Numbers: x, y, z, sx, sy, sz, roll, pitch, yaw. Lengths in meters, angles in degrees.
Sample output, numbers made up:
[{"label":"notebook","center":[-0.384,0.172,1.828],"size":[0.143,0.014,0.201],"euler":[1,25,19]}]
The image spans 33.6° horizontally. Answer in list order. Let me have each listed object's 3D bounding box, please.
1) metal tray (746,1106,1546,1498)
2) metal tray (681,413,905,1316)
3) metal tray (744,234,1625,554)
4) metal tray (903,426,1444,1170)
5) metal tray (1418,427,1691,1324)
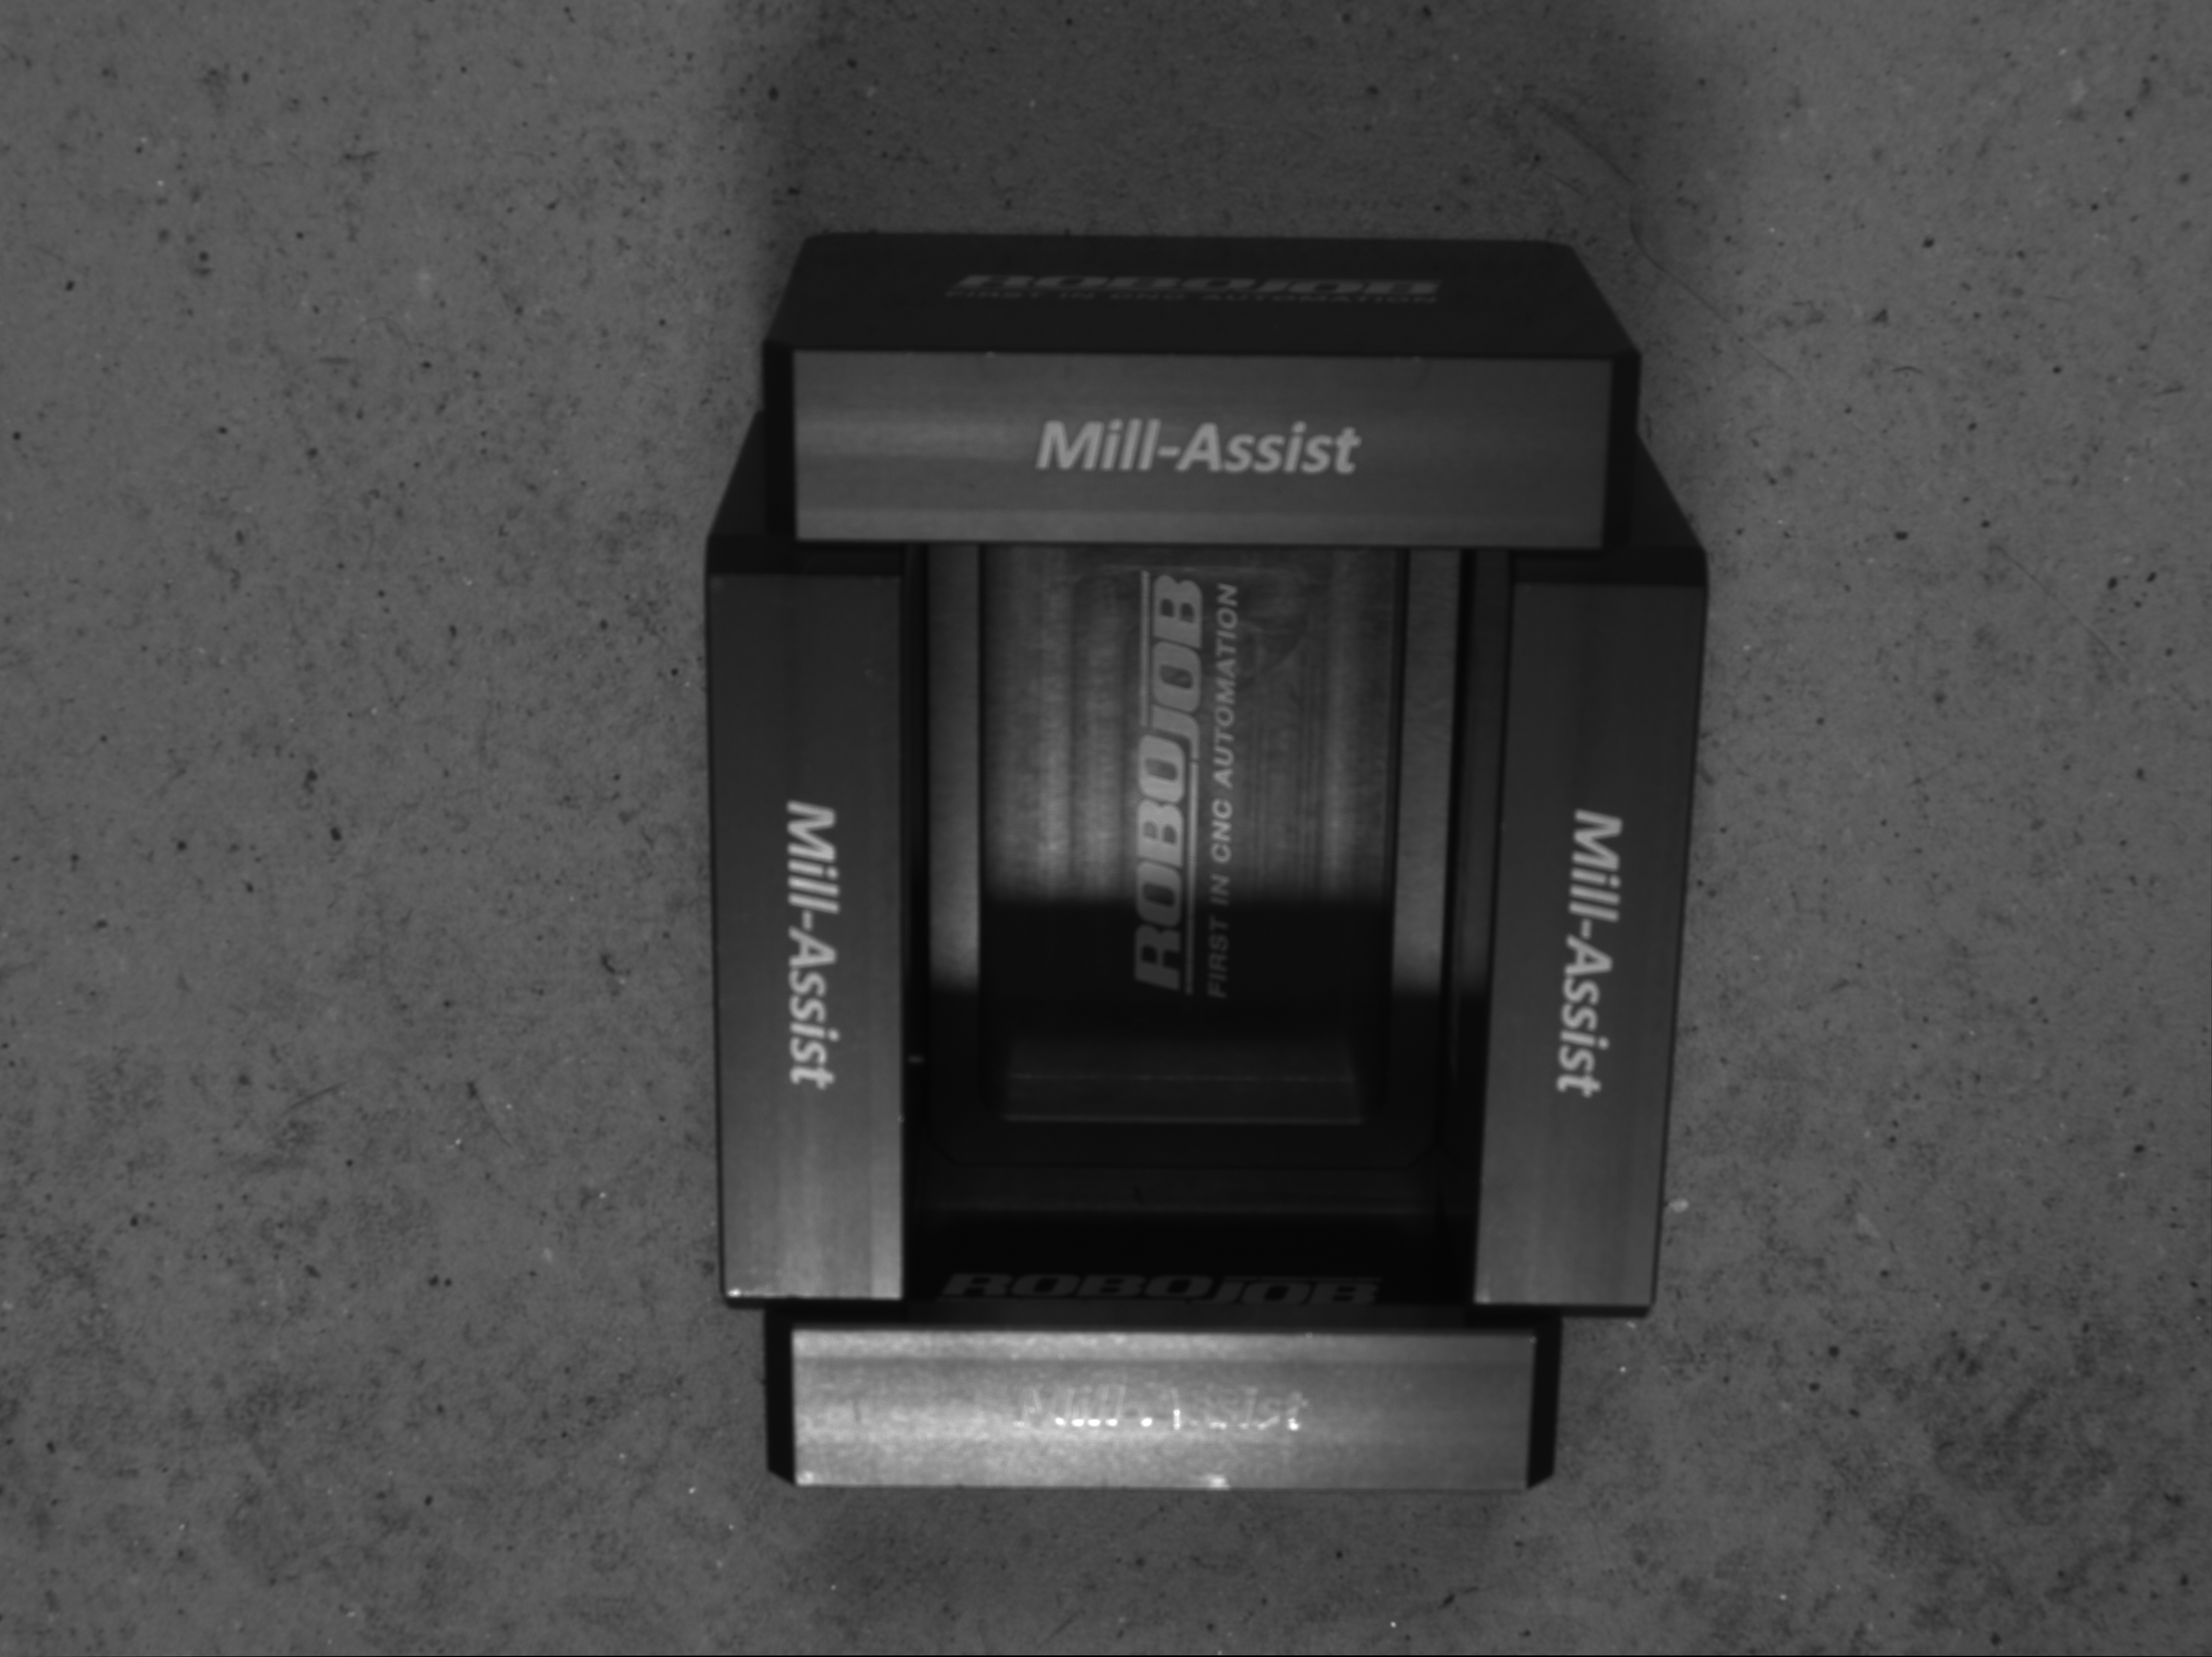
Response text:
[{"label":"metal tray","center":[0.006,0.080,0.637],"size":[0.130,0.090,0.030],"euler":[1,110,-1]},{"label":"metal tray","center":[-0.050,0.004,0.609],"size":[0.030,0.090,0.130],"euler":[1,110,-1]},{"label":"metal tray","center":[0.011,-0.071,0.582],"size":[0.130,0.090,0.030],"euler":[1,110,-1]},{"label":"metal tray","center":[0.010,-0.006,0.638],"size":[0.090,0.030,0.130],"euler":[1,110,-1]},{"label":"metal tray","center":[0.072,0.006,0.611],"size":[0.030,0.090,0.130],"euler":[1,110,-1]}]
